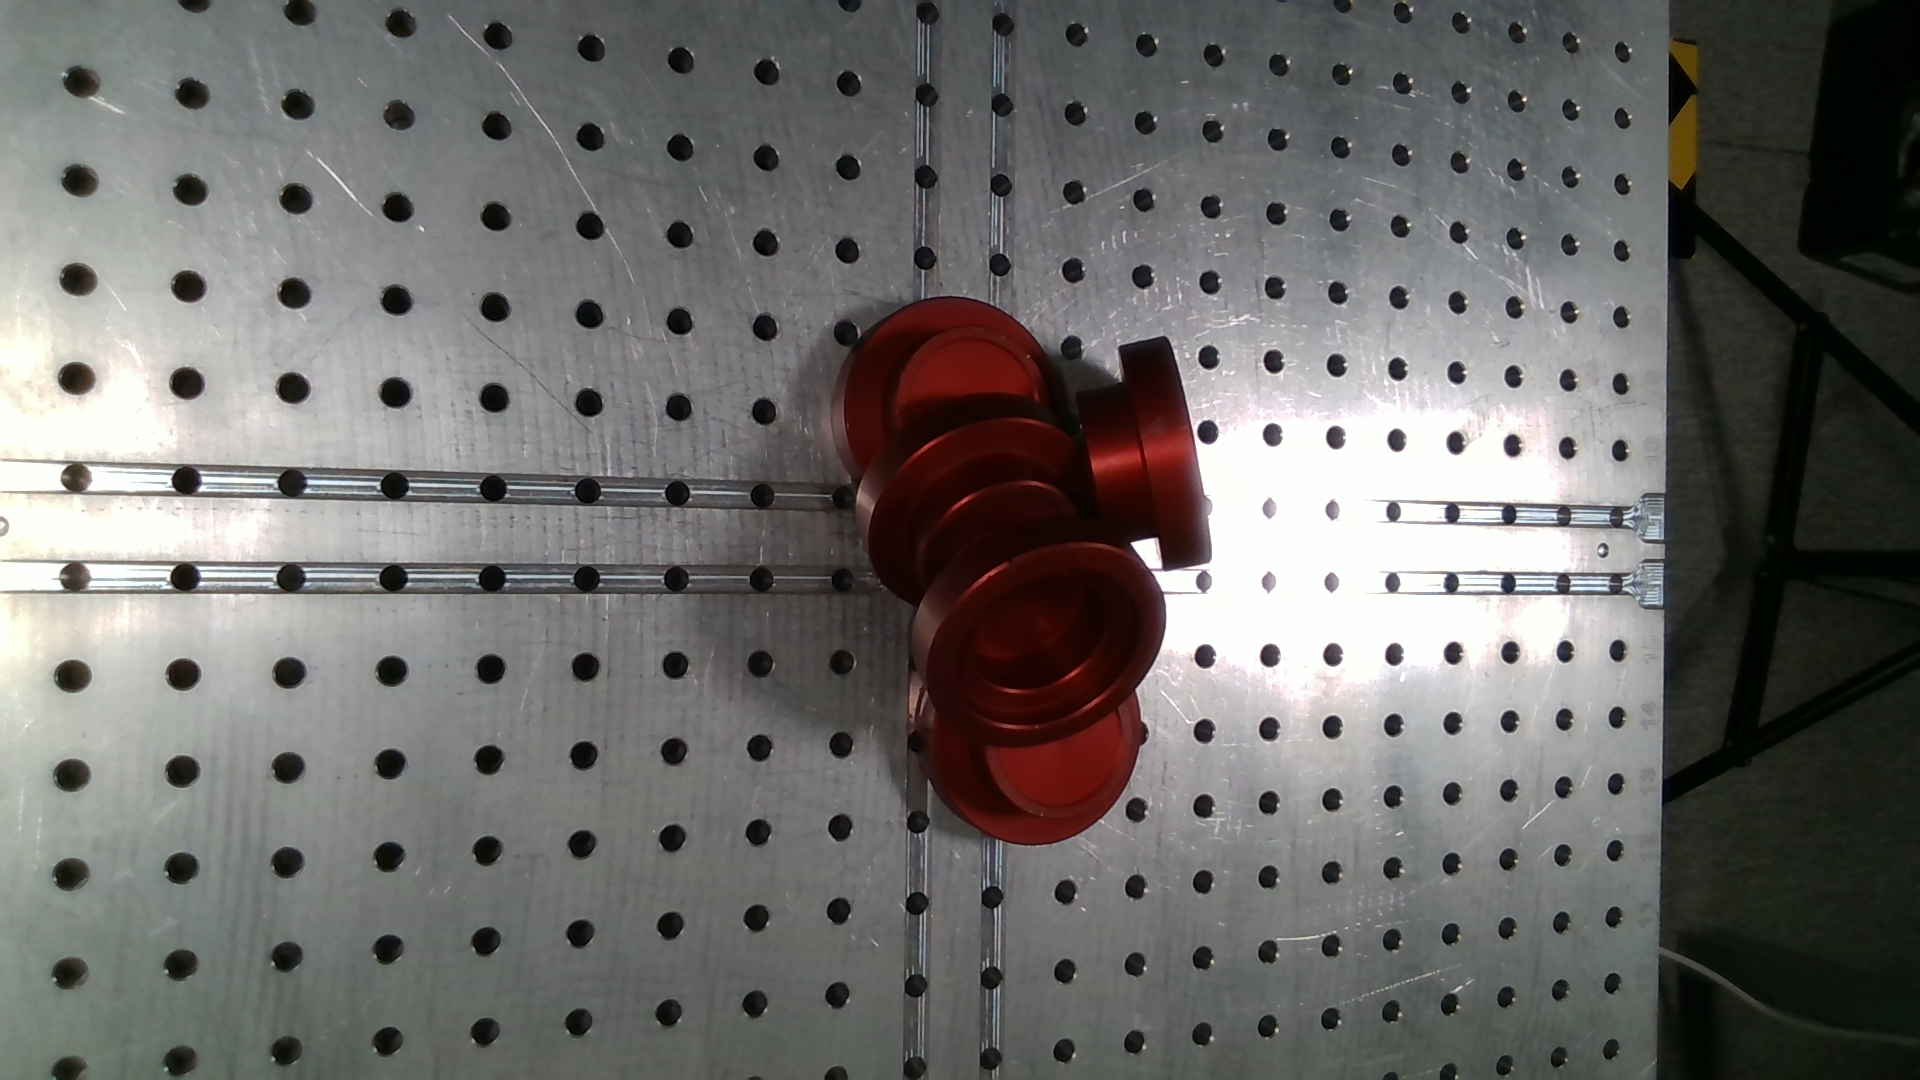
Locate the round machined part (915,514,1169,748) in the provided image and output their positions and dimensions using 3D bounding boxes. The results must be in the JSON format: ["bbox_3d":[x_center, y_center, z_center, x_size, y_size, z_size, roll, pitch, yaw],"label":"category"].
[{"bbox_3d":[0.028,0.031,0.539,0.098,0.042,0.098,-11,127,-15],"label":"round machined part"}]

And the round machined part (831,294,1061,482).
[{"bbox_3d":[-0.002,-0.054,0.579,0.098,0.042,0.098,0,90,-20],"label":"round machined part"}]

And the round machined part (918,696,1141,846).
[{"bbox_3d":[0.035,0.083,0.592,0.098,0.042,0.098,0,90,-20],"label":"round machined part"}]

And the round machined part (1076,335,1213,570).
[{"bbox_3d":[0.076,-0.034,0.583,0.042,0.098,0.098,-11,94,6],"label":"round machined part"}]

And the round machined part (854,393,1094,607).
[{"bbox_3d":[0.010,-0.007,0.558,0.098,0.042,0.098,-13,131,-15],"label":"round machined part"}]
